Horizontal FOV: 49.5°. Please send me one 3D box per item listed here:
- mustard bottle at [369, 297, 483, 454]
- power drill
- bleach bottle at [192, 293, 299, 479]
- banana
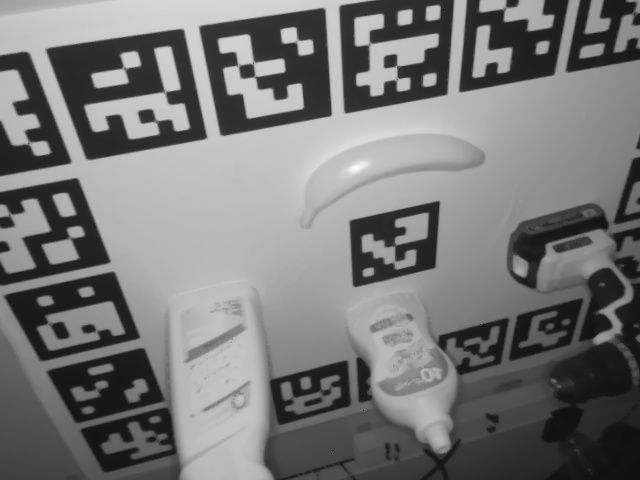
[{"bbox_3d":[0.122,0.146,0.746,0.096,0.192,0.058,-18,128,-1],"label":"mustard bottle"},{"bbox_3d":[0.307,0.086,0.722,0.186,0.187,0.057,-19,128,-8],"label":"power drill"},{"bbox_3d":[-0.063,0.156,0.653,0.103,0.251,0.067,-6,127,-12],"label":"bleach bottle"},{"bbox_3d":[0.088,-0.060,0.669,0.198,0.039,0.074,-19,126,-8],"label":"banana"}]
